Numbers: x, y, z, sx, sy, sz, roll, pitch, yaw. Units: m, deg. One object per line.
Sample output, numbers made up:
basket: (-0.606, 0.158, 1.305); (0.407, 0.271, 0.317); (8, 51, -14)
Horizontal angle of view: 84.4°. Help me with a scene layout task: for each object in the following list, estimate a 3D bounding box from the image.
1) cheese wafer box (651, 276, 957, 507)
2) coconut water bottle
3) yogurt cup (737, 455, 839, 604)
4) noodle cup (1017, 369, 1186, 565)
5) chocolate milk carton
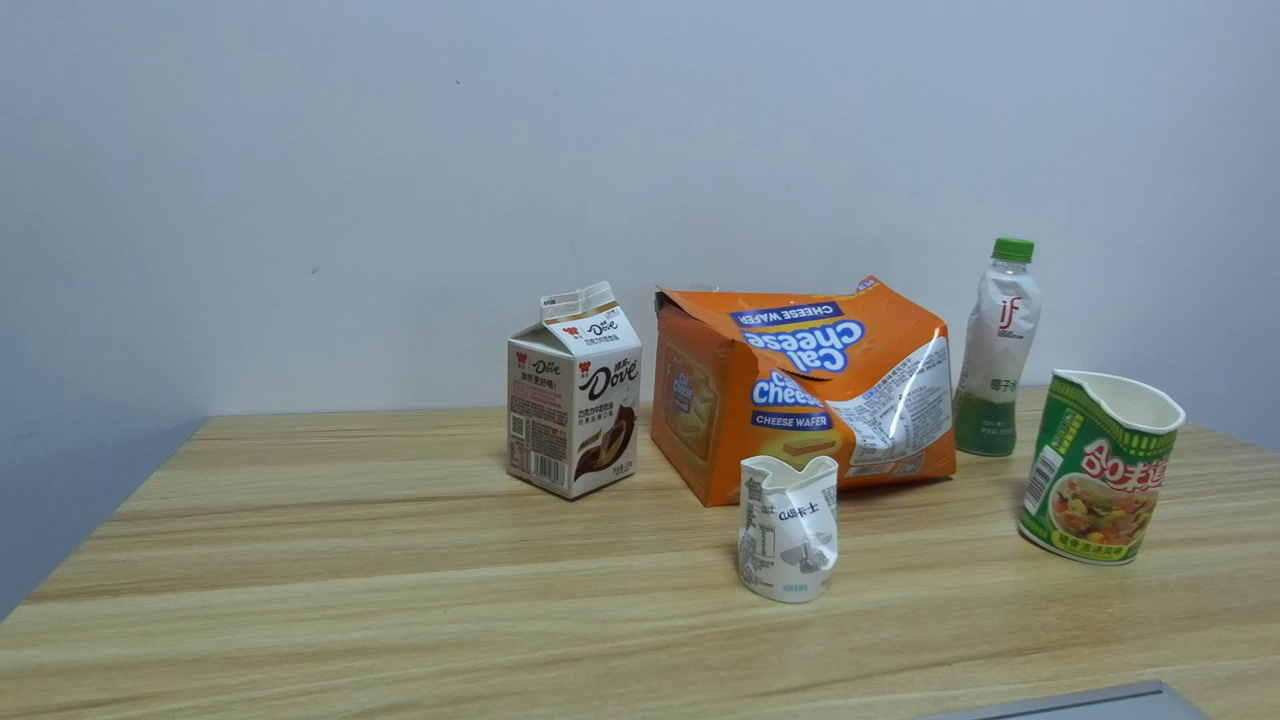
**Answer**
cheese wafer box: (0.138, 0.018, 0.575); (0.220, 0.145, 0.190); (-2, 16, -17)
coconut water bottle: (0.318, -0.012, 0.631); (0.067, 0.187, 0.067); (4, 14, -1)
yogurt cup: (0.087, 0.095, 0.414); (0.055, 0.072, 0.055); (0, 16, -6)
noodle cup: (0.300, 0.071, 0.467); (0.070, 0.111, 0.115); (10, 18, 29)
chocolate milk carton: (-0.049, 0.018, 0.536); (0.073, 0.148, 0.076); (15, 19, 38)
